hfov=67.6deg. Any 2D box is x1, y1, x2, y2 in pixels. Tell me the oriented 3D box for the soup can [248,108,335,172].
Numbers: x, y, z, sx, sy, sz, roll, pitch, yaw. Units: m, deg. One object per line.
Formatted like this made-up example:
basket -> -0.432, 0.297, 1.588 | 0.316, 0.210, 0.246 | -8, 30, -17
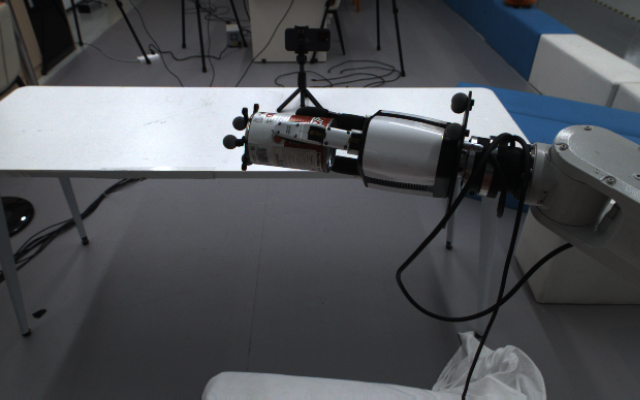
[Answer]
soup can -> -0.033, -0.073, 0.603 | 0.101, 0.067, 0.067 | 7, 35, 11
